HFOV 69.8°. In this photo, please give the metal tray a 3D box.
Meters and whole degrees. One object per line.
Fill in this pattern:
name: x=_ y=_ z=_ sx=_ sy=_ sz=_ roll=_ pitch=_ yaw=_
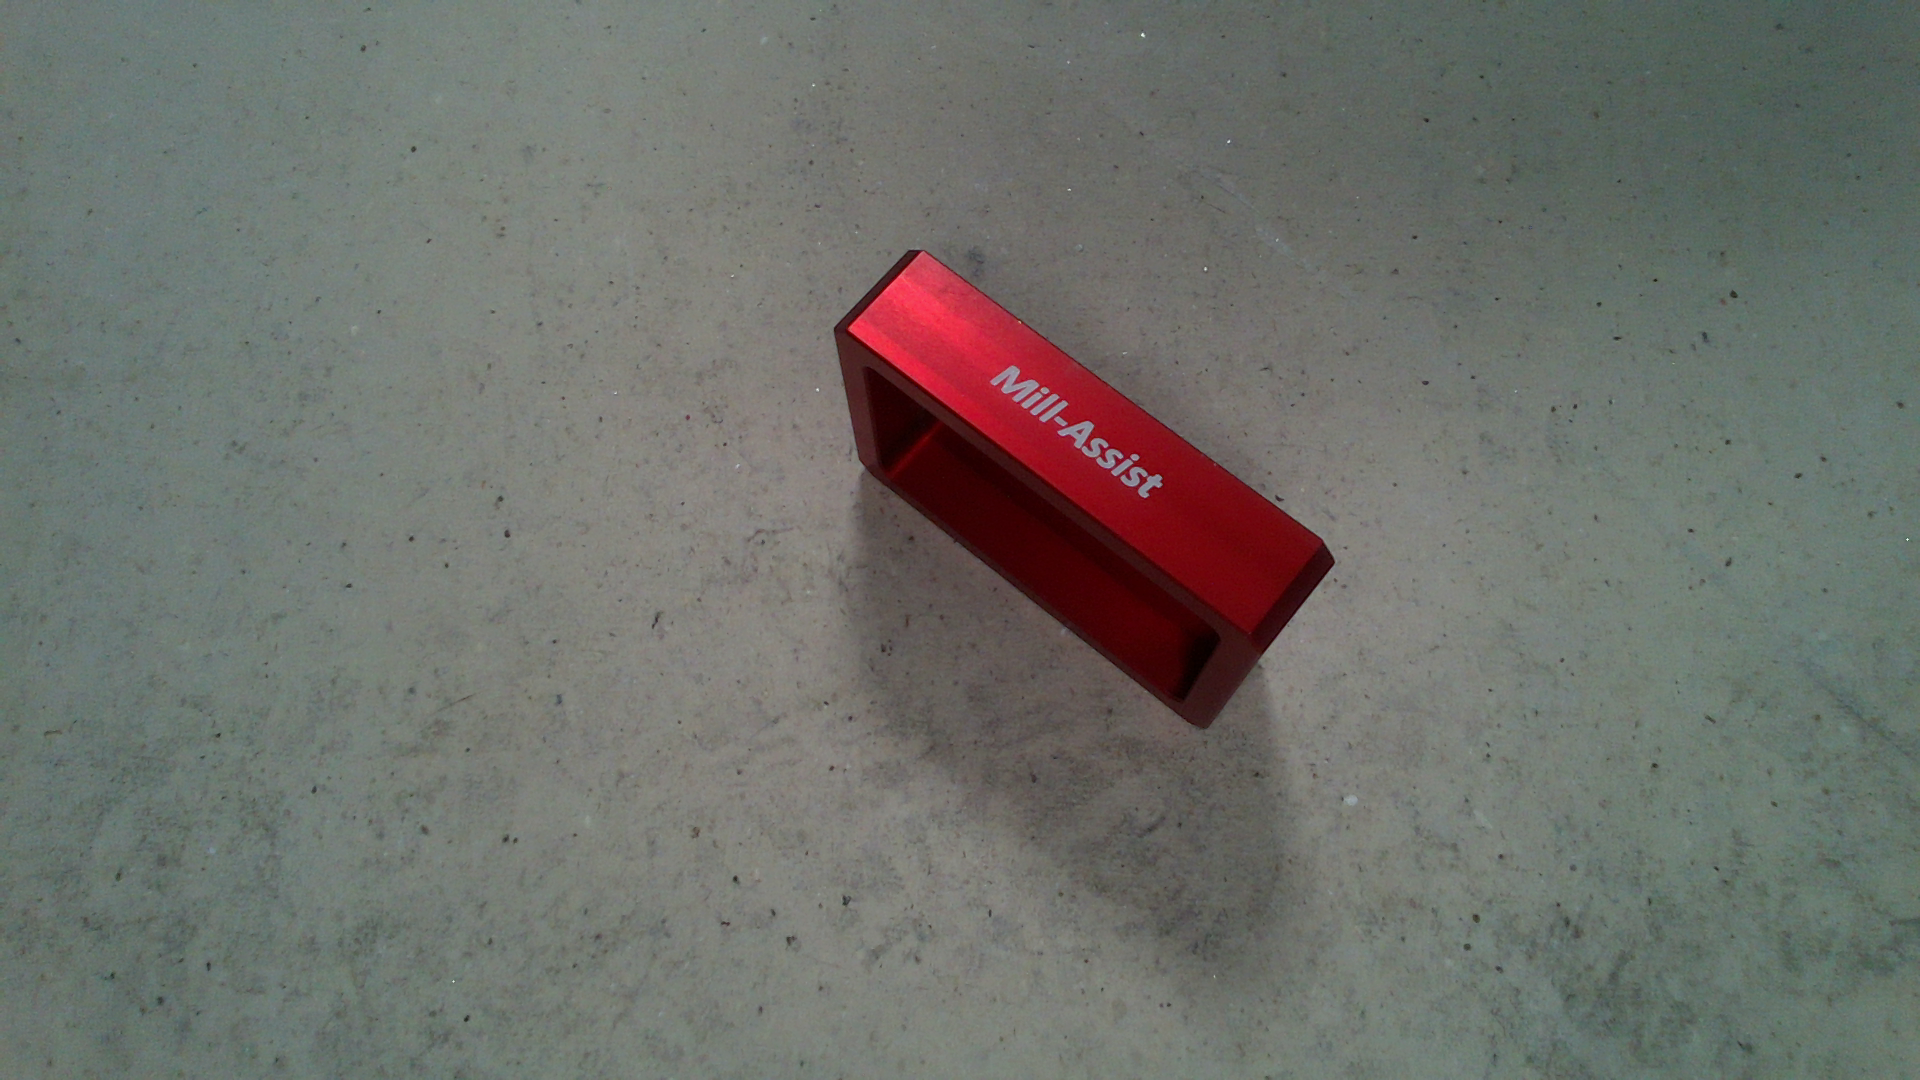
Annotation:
metal tray: x=0.028 y=-0.010 z=0.364 sx=0.130 sy=0.090 sz=0.030 roll=38 pitch=74 yaw=13
